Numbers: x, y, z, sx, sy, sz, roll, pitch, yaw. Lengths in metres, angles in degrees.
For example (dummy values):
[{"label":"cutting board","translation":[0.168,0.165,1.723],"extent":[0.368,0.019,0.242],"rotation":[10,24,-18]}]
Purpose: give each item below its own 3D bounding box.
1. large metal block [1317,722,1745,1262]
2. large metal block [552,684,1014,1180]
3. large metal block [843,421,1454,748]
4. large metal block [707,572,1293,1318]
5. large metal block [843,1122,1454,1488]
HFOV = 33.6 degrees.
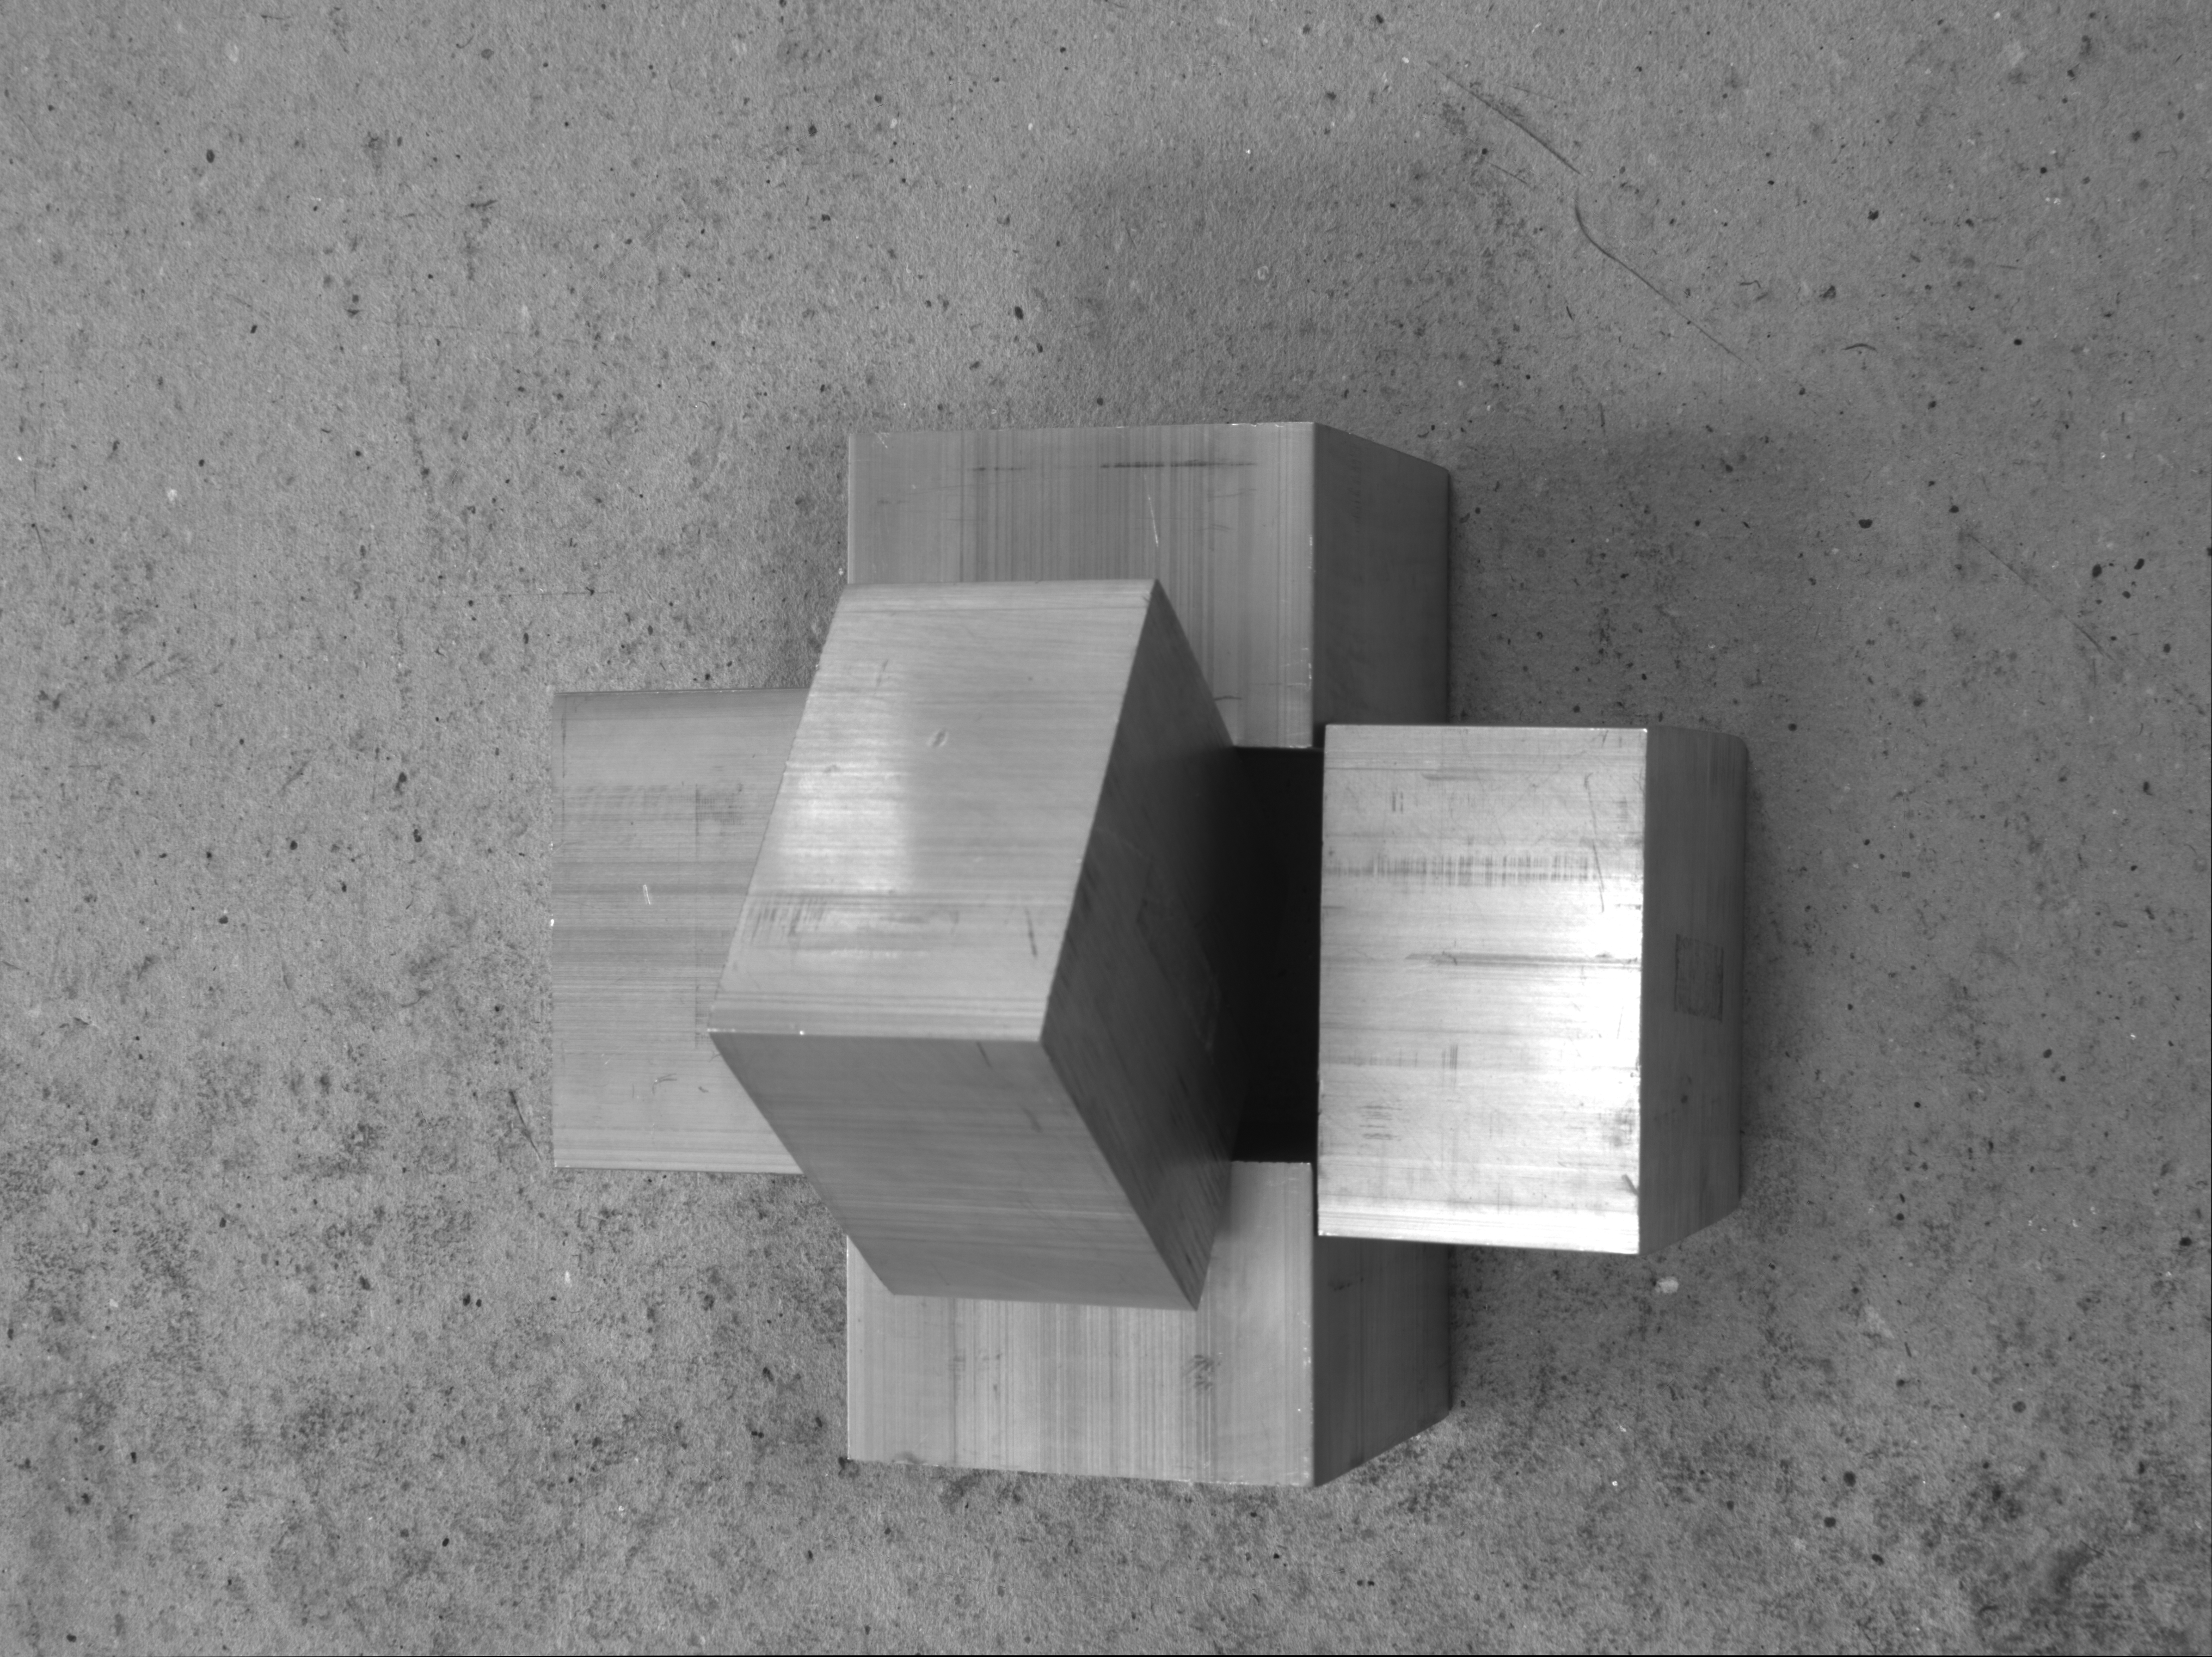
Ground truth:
[{"label":"large metal block","translation":[0.070,0.024,0.591],"extent":[0.050,0.080,0.080],"rotation":[1,90,20]},{"label":"large metal block","translation":[-0.054,0.017,0.635],"extent":[0.050,0.080,0.080],"rotation":[0,90,20]},{"label":"large metal block","translation":[0.009,-0.038,0.614],"extent":[0.080,0.080,0.050],"rotation":[1,90,20]},{"label":"large metal block","translation":[-0.012,0.018,0.552],"extent":[0.050,0.080,0.080],"rotation":[1,56,20]},{"label":"large metal block","translation":[0.009,0.077,0.614],"extent":[0.080,0.080,0.050],"rotation":[0,90,20]}]
